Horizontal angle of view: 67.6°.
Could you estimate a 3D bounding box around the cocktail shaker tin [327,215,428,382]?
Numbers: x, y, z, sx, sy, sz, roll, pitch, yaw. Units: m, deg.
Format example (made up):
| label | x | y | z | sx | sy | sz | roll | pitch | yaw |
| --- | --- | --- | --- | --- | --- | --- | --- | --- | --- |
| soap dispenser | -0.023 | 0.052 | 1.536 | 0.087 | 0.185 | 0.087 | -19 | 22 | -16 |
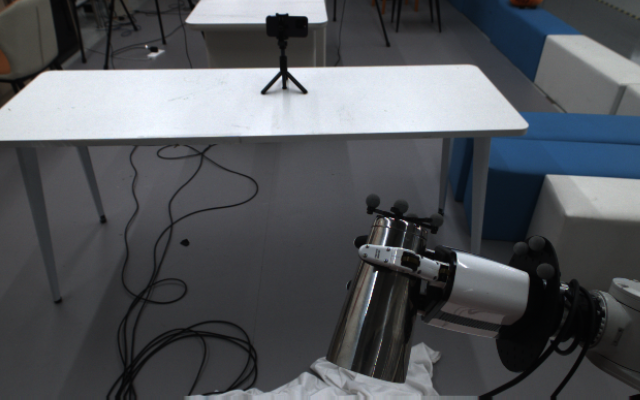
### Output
| label | x | y | z | sx | sy | sz | roll | pitch | yaw |
| --- | --- | --- | --- | --- | --- | --- | --- | --- | --- |
| cocktail shaker tin | 0.077 | 0.108 | 0.561 | 0.093 | 0.093 | 0.170 | 13 | 79 | 15 |
